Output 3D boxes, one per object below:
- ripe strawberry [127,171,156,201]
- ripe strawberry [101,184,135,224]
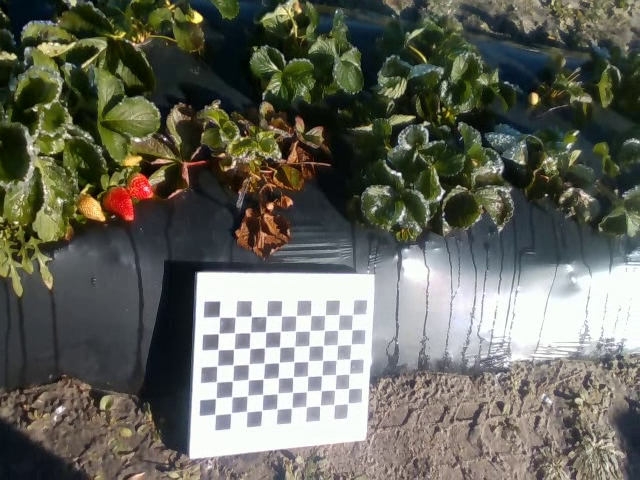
[{"bbox_3d":[-0.234,-0.069,0.811,0.041,0.036,0.030,30,-8,-16],"label":"ripe strawberry"},{"bbox_3d":[-0.250,-0.041,0.787,0.036,0.051,0.039,-38,-21,-17],"label":"ripe strawberry"}]
